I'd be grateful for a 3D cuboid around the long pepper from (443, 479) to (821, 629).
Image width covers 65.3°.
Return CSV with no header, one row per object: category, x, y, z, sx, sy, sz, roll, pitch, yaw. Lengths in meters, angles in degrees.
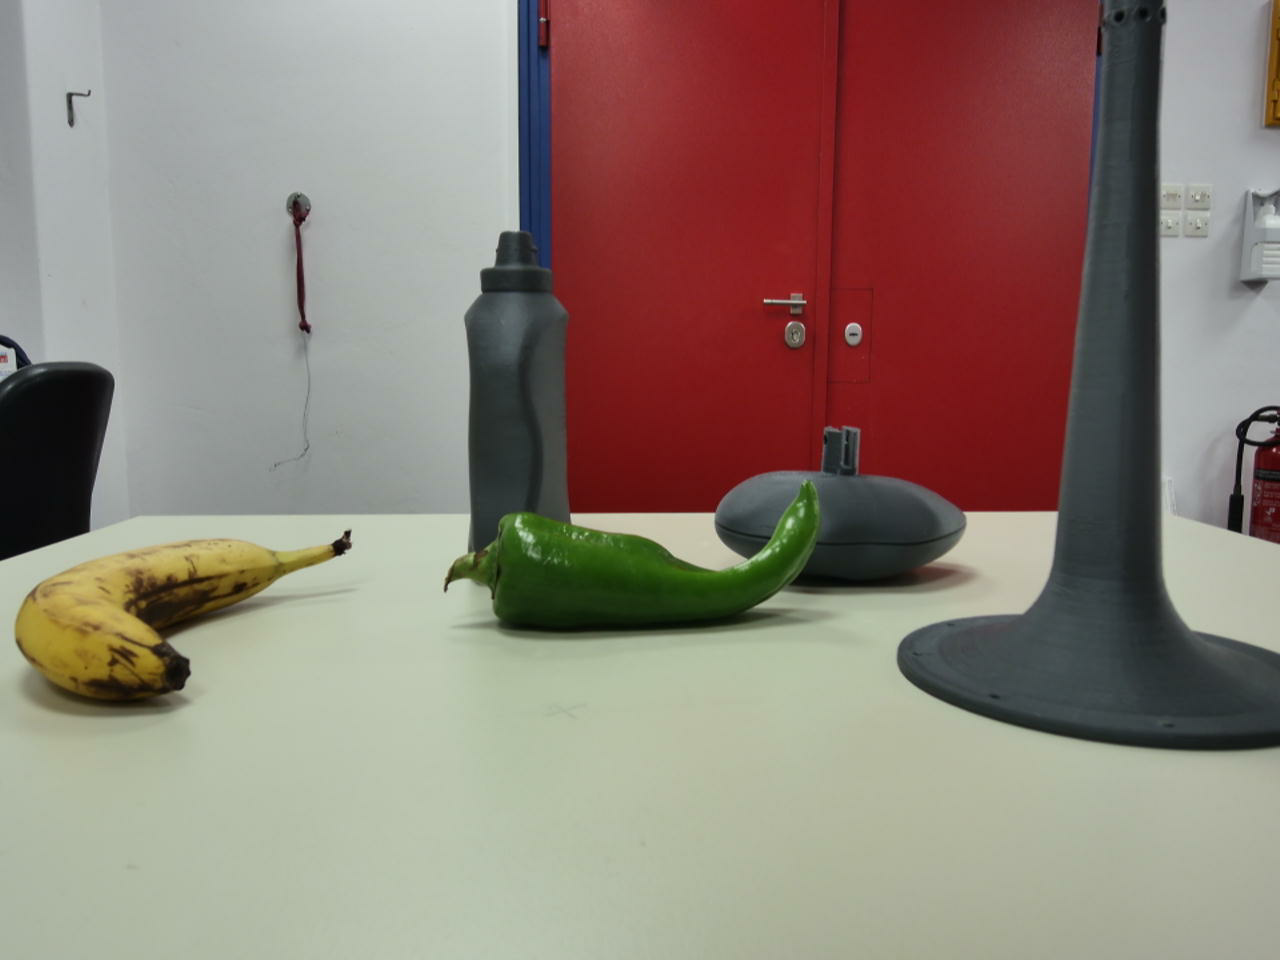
long pepper,-0.002,0.034,0.458,0.175,0.065,0.058,-1,4,-2
